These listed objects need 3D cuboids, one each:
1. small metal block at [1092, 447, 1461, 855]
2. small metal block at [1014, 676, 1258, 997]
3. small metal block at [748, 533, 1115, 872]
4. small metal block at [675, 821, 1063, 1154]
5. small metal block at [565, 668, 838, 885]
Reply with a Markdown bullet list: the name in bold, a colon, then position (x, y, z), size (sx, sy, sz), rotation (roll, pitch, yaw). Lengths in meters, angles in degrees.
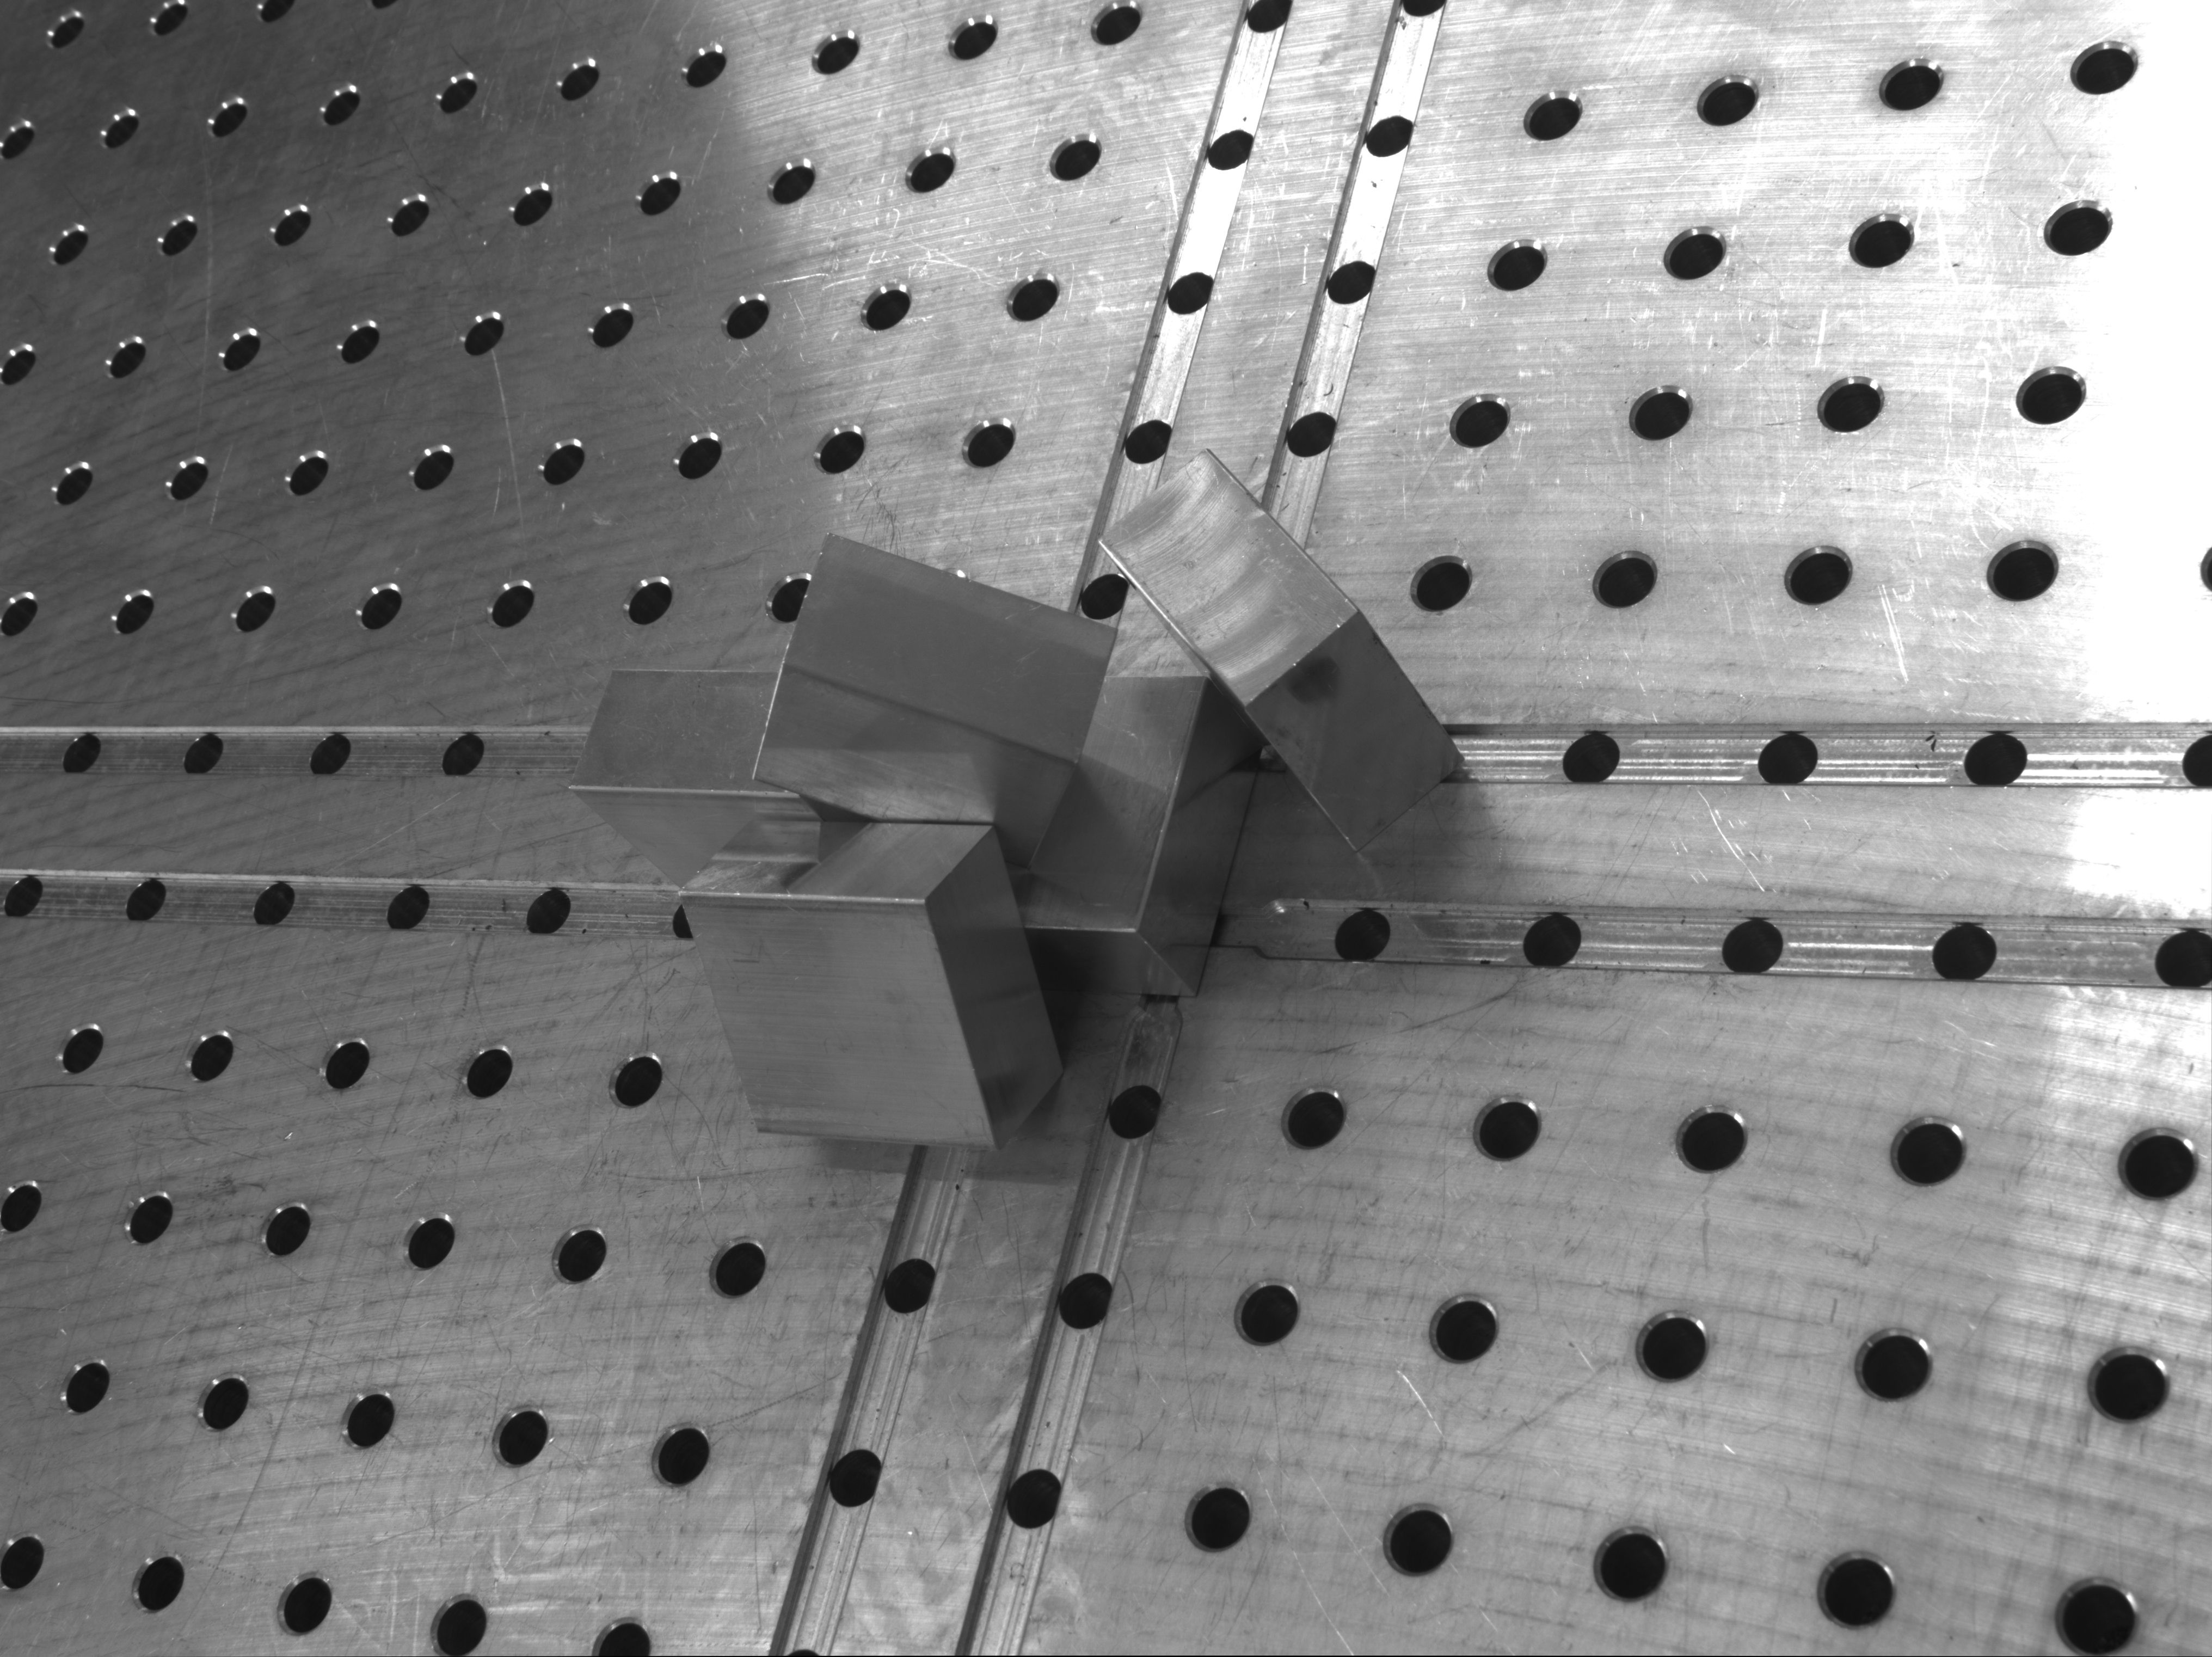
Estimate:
- **small metal block**: position (0.030, -0.031, 0.635), size (0.025, 0.050, 0.050), rotation (-40, 51, 1)
- **small metal block**: position (-0.006, 0.001, 0.651), size (0.050, 0.025, 0.050), rotation (2, 62, 28)
- **small metal block**: position (-0.030, -0.020, 0.616), size (0.050, 0.050, 0.025), rotation (18, 67, -4)
- **small metal block**: position (-0.041, 0.027, 0.635), size (0.050, 0.050, 0.025), rotation (1, 30, 29)
- **small metal block**: position (-0.061, -0.006, 0.669), size (0.050, 0.050, 0.025), rotation (1, 63, 30)
